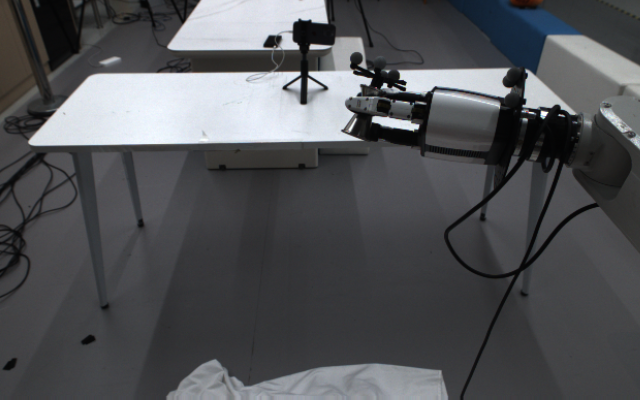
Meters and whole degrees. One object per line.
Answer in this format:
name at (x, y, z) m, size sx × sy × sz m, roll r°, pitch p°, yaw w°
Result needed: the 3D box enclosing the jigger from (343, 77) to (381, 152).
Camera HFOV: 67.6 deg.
jigger at (0.060, -0.120, 0.660) m, size 0.043 × 0.071 × 0.043 m, roll 22°, pitch 6°, yaw -2°
